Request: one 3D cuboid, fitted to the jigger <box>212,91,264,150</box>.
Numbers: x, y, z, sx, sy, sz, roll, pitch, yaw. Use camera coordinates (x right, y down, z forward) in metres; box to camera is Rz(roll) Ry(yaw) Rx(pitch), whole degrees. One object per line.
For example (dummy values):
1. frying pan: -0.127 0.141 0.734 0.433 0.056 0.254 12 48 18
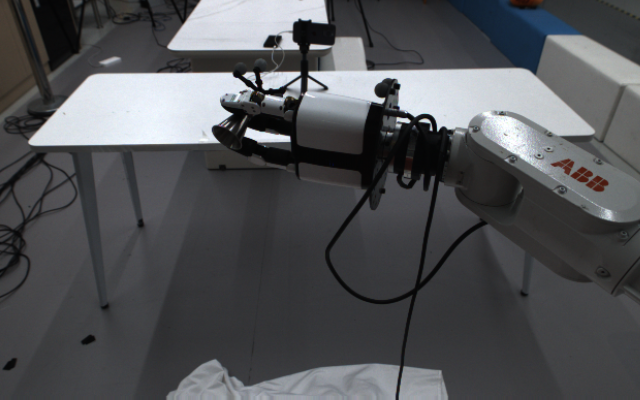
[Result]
1. jigger: -0.103 -0.108 0.622 0.043 0.043 0.071 19 61 23
